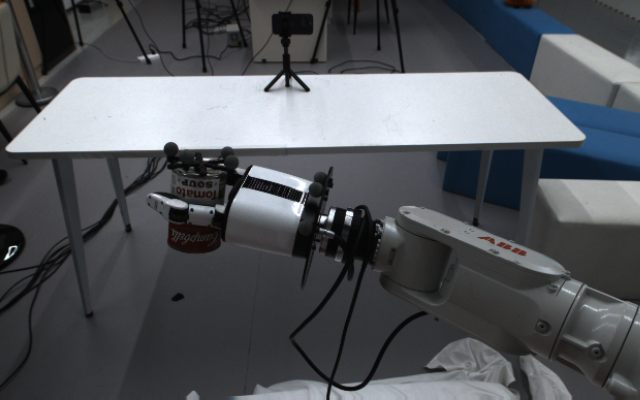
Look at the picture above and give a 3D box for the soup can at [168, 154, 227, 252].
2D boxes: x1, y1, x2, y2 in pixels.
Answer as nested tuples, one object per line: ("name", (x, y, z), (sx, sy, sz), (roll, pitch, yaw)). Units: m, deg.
("soup can", (-0.153, 0.008, 0.608), (0.067, 0.101, 0.067), (8, 19, -3))
